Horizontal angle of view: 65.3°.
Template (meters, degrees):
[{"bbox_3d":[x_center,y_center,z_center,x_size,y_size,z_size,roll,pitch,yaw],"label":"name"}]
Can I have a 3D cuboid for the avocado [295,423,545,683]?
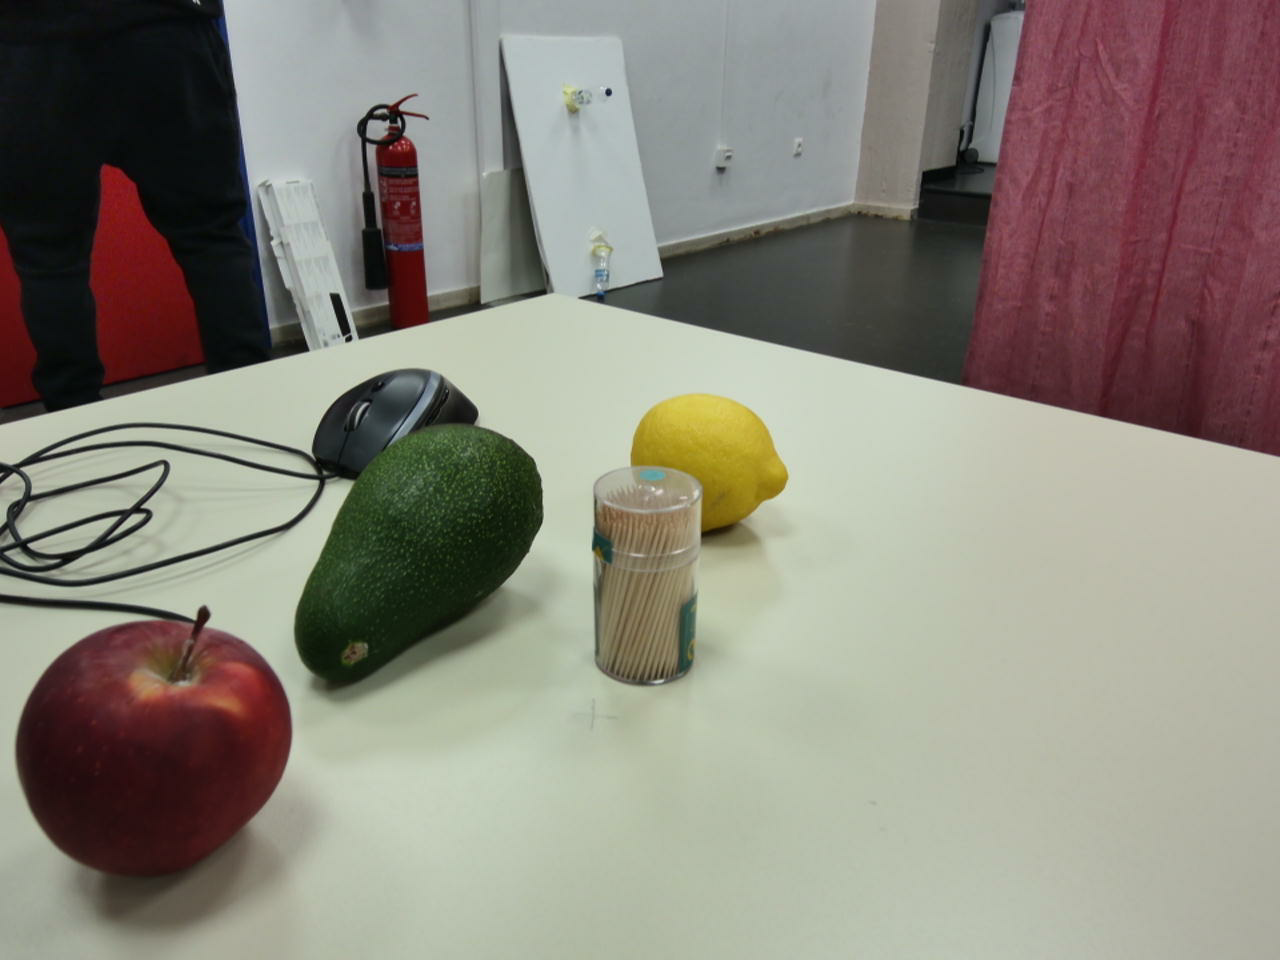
[{"bbox_3d":[-0.091,0.020,0.397,0.074,0.076,0.123,22,30,40],"label":"avocado"}]
